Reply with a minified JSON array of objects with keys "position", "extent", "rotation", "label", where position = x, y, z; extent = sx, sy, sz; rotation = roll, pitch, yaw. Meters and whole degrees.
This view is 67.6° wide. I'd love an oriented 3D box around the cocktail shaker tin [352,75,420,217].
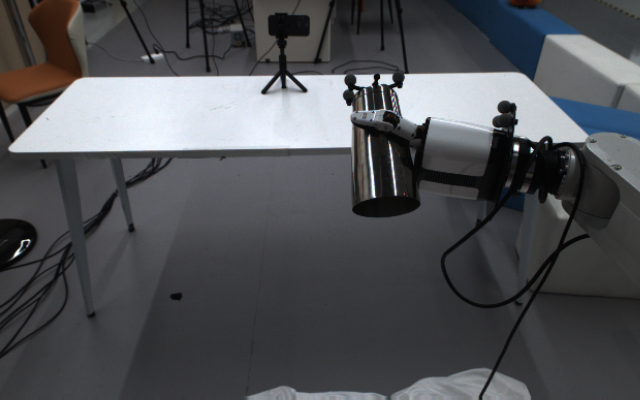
[{"position":[0.084,-0.070,0.677],"extent":[0.093,0.093,0.170],"rotation":[-2,71,-6],"label":"cocktail shaker tin"}]
